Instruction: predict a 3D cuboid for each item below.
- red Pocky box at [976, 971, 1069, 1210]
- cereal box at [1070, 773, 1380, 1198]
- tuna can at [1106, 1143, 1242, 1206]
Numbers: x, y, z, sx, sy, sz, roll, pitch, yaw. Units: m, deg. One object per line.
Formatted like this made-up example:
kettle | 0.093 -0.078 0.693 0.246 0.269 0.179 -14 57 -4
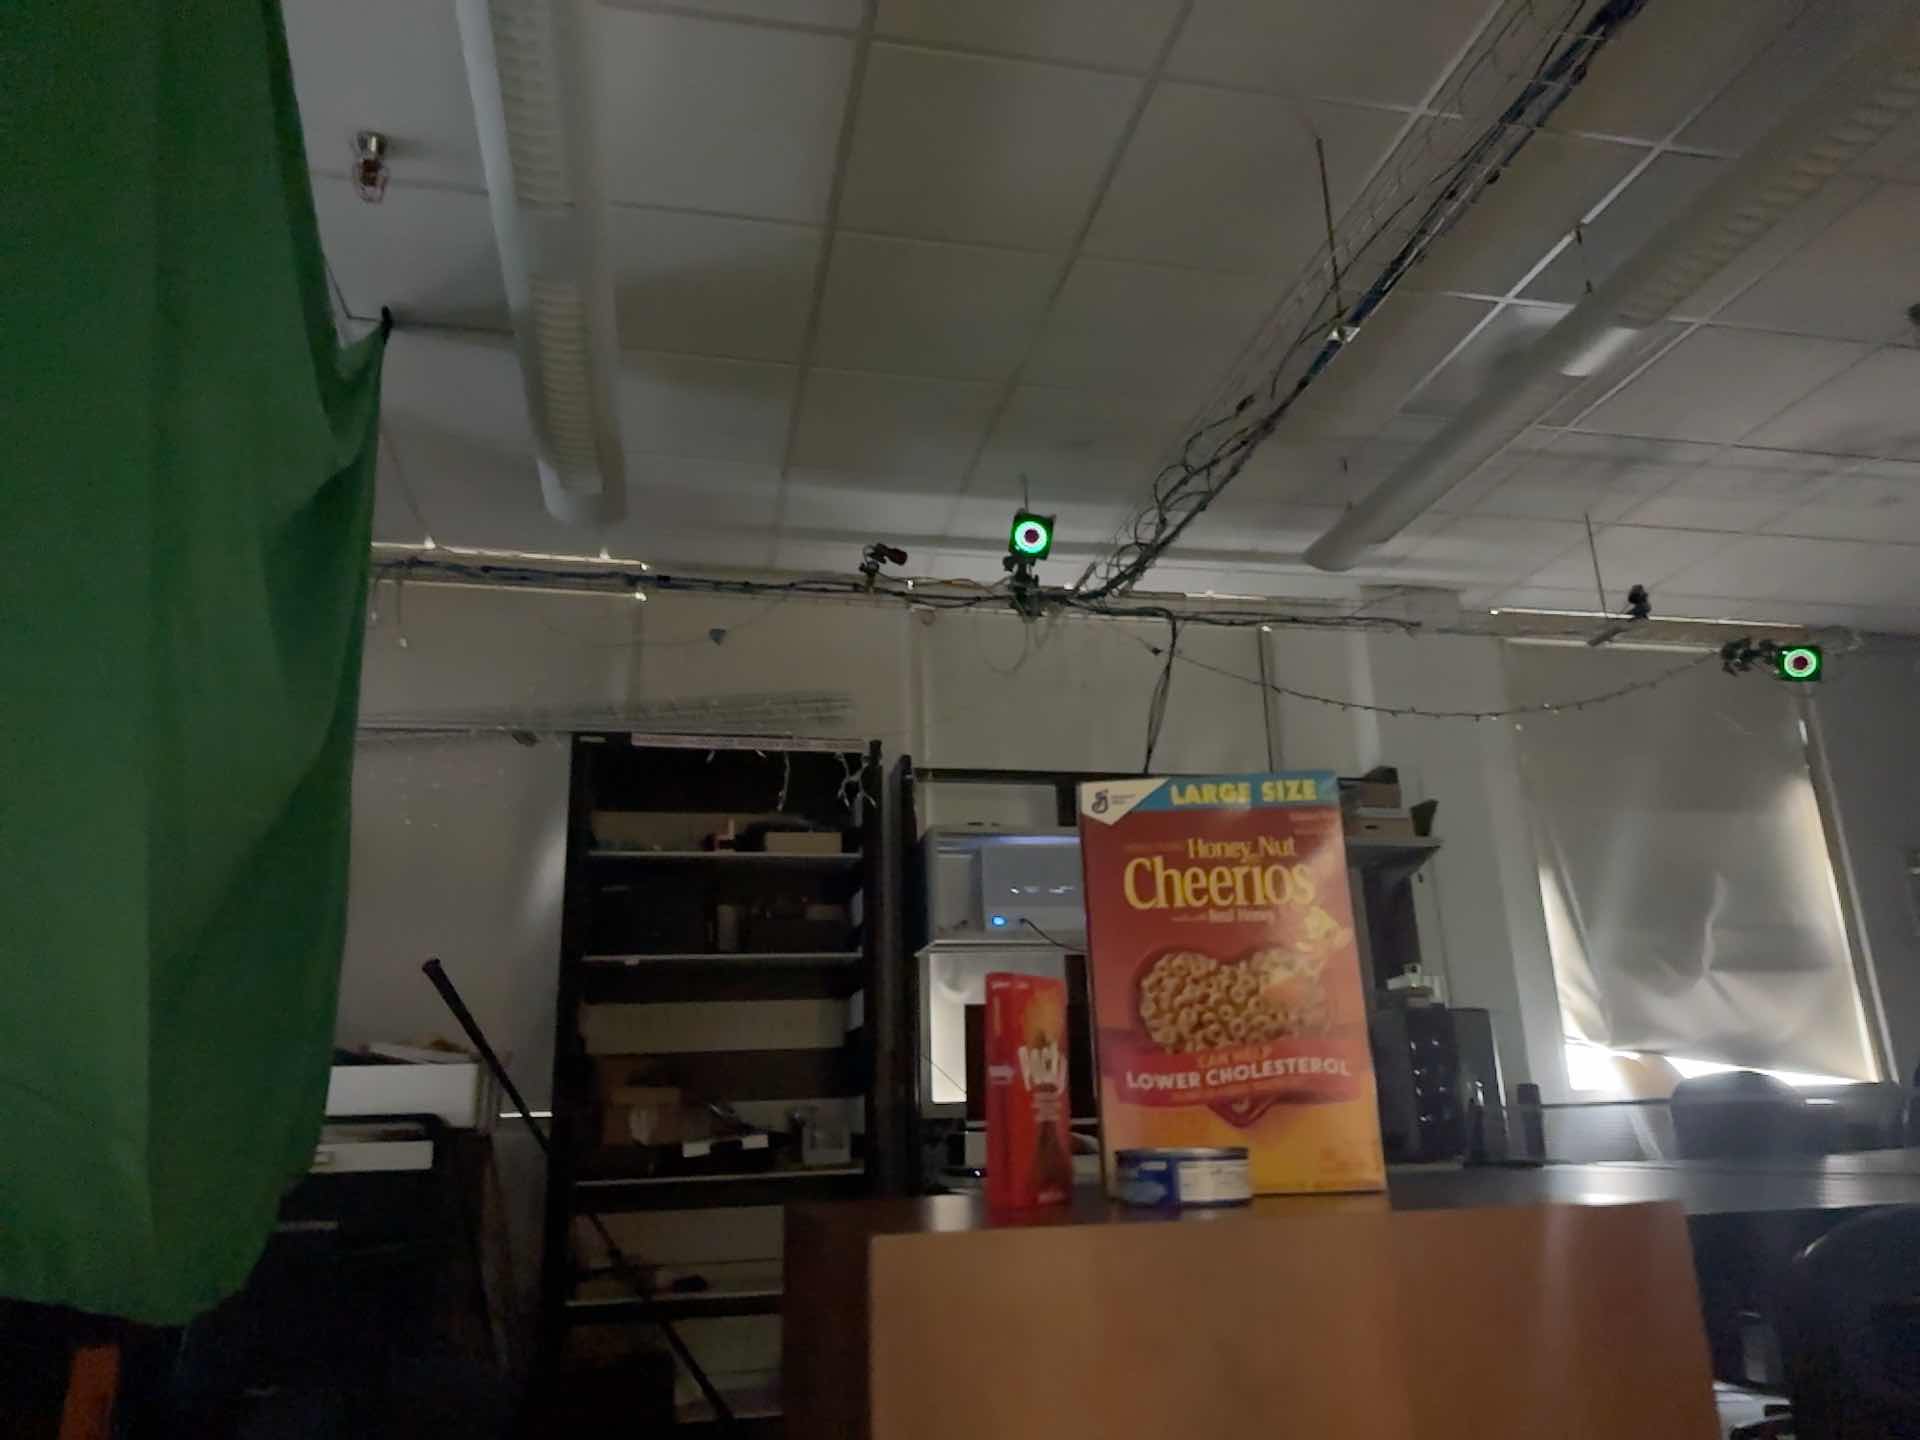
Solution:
red Pocky box | 0.043 0.253 0.924 0.028 0.155 0.083 -10 -18 30
cereal box | 0.193 0.197 1.021 0.195 0.297 0.065 -2 -16 1
tuna can | 0.137 0.290 0.859 0.083 0.034 0.083 -2 -16 0
